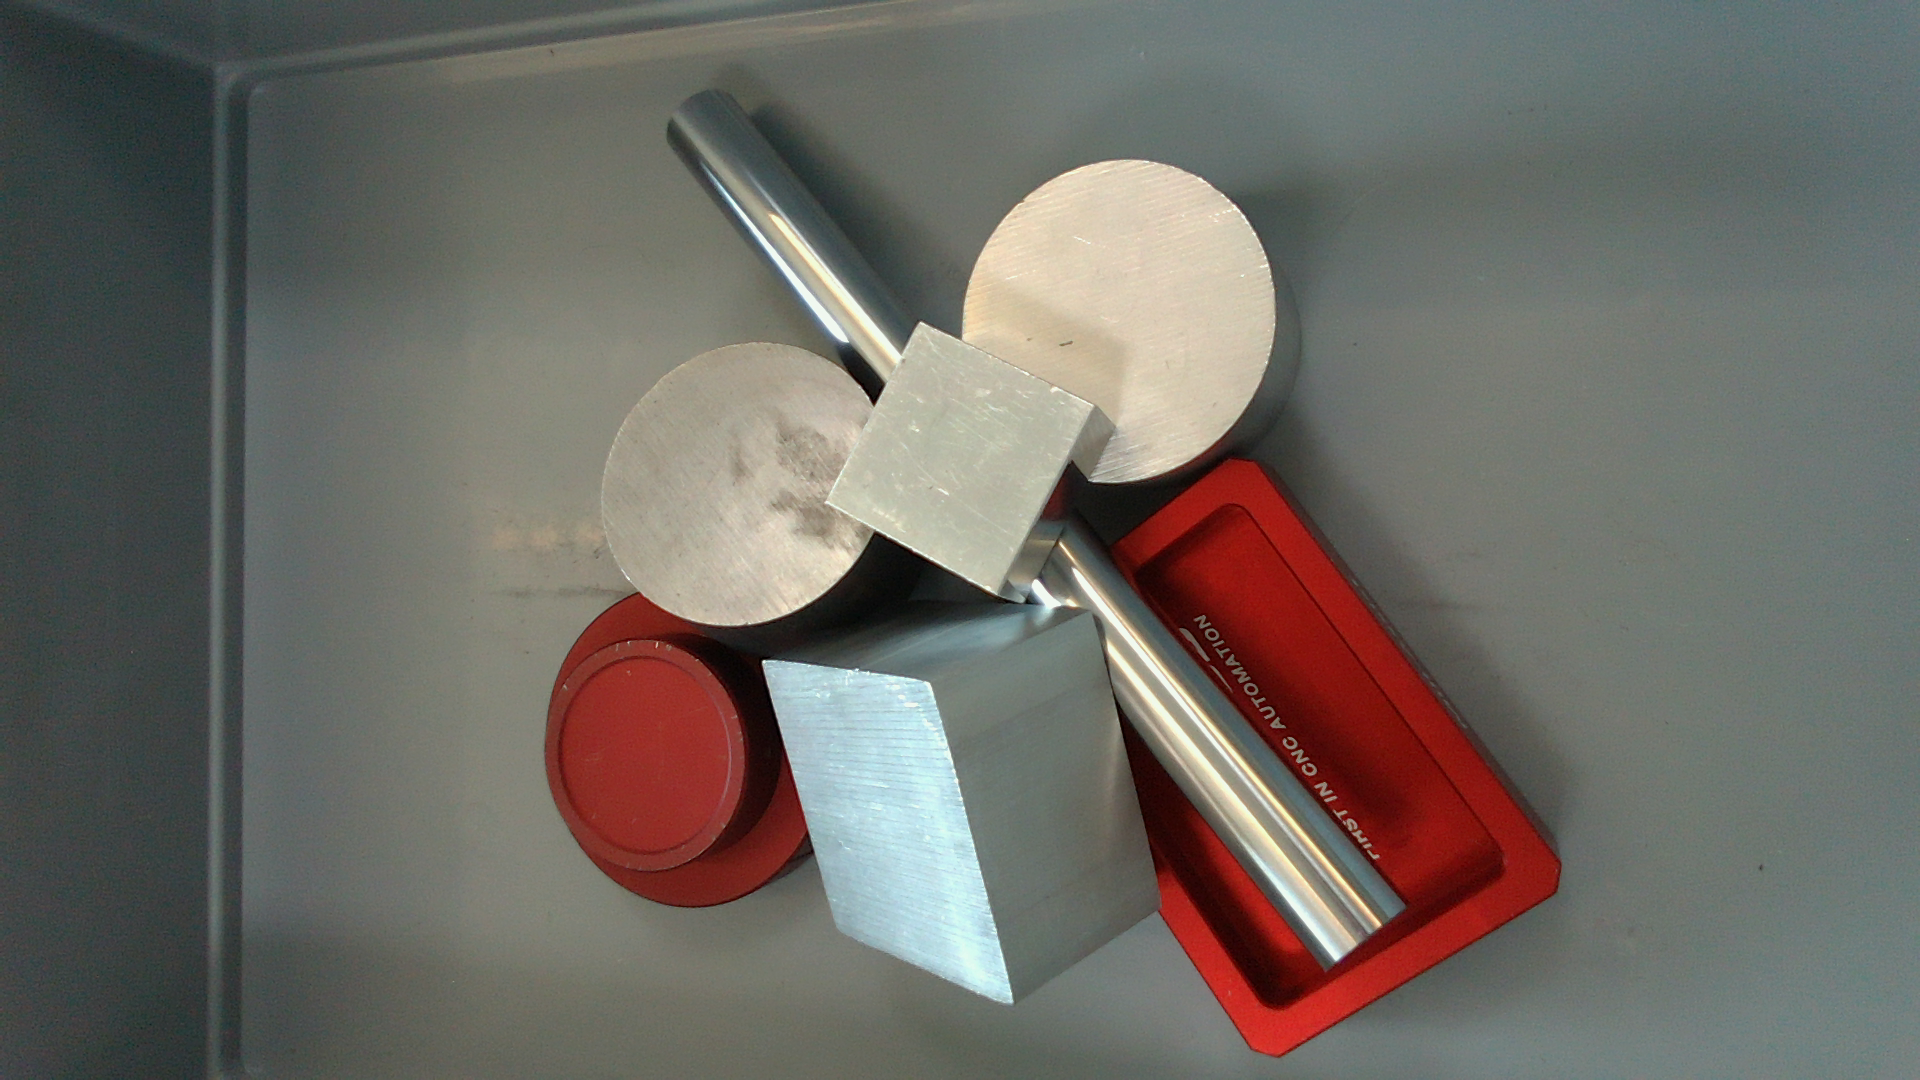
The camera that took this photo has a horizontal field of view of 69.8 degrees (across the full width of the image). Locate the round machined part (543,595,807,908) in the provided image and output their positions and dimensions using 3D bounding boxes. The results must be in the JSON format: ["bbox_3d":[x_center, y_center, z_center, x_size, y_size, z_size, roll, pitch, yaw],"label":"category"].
[{"bbox_3d":[-0.085,0.062,0.416,0.098,0.042,0.098,0,90,20],"label":"round machined part"}]

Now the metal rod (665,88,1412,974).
[{"bbox_3d":[0.006,-0.019,0.366,0.025,0.025,0.299,-44,67,15],"label":"metal rod"}]

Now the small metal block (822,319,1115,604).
[{"bbox_3d":[0.003,-0.019,0.337,0.050,0.025,0.050,28,91,18],"label":"small metal block"}]

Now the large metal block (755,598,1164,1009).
[{"bbox_3d":[-0.002,0.062,0.354,0.080,0.050,0.080,-1,107,53],"label":"large metal block"}]

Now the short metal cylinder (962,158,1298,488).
[{"bbox_3d":[0.047,-0.055,0.365,0.080,0.050,0.080,0,90,20],"label":"short metal cylinder"}]

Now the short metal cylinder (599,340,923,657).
[{"bbox_3d":[-0.053,-0.009,0.389,0.080,0.050,0.080,-3,73,11],"label":"short metal cylinder"}]

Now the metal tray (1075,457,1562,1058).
[{"bbox_3d":[0.080,0.055,0.363,0.090,0.030,0.130,-38,78,16],"label":"metal tray"}]
